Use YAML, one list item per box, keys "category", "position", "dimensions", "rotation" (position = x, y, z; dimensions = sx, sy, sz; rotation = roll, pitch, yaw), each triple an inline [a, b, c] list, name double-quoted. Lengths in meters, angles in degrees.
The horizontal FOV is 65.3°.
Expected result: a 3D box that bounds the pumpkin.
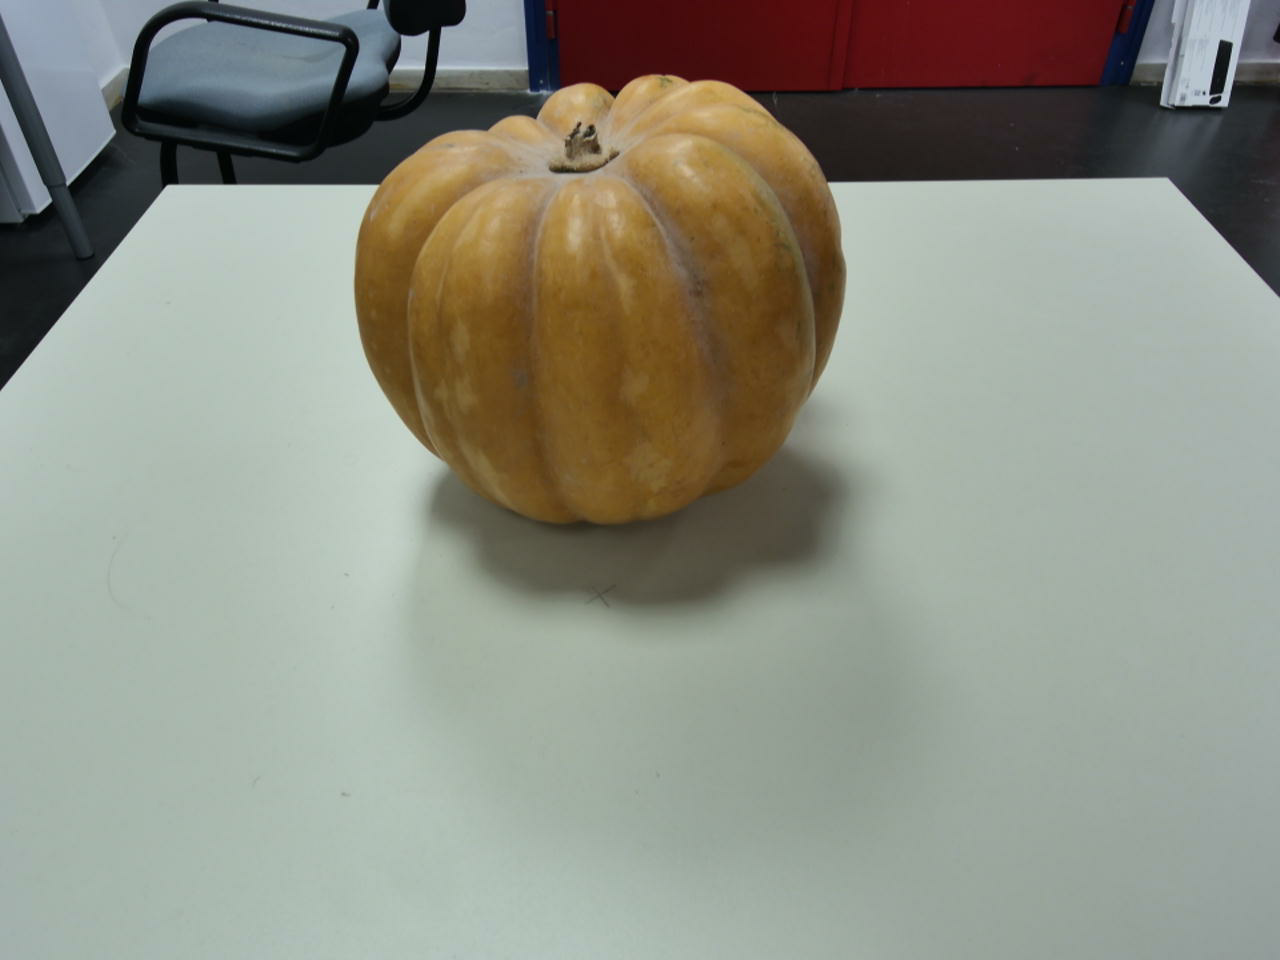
- category: "pumpkin"
  position: [-0.016, -0.084, 0.480]
  dimensions: [0.230, 0.194, 0.230]
  rotation: [0, 39, 0]
